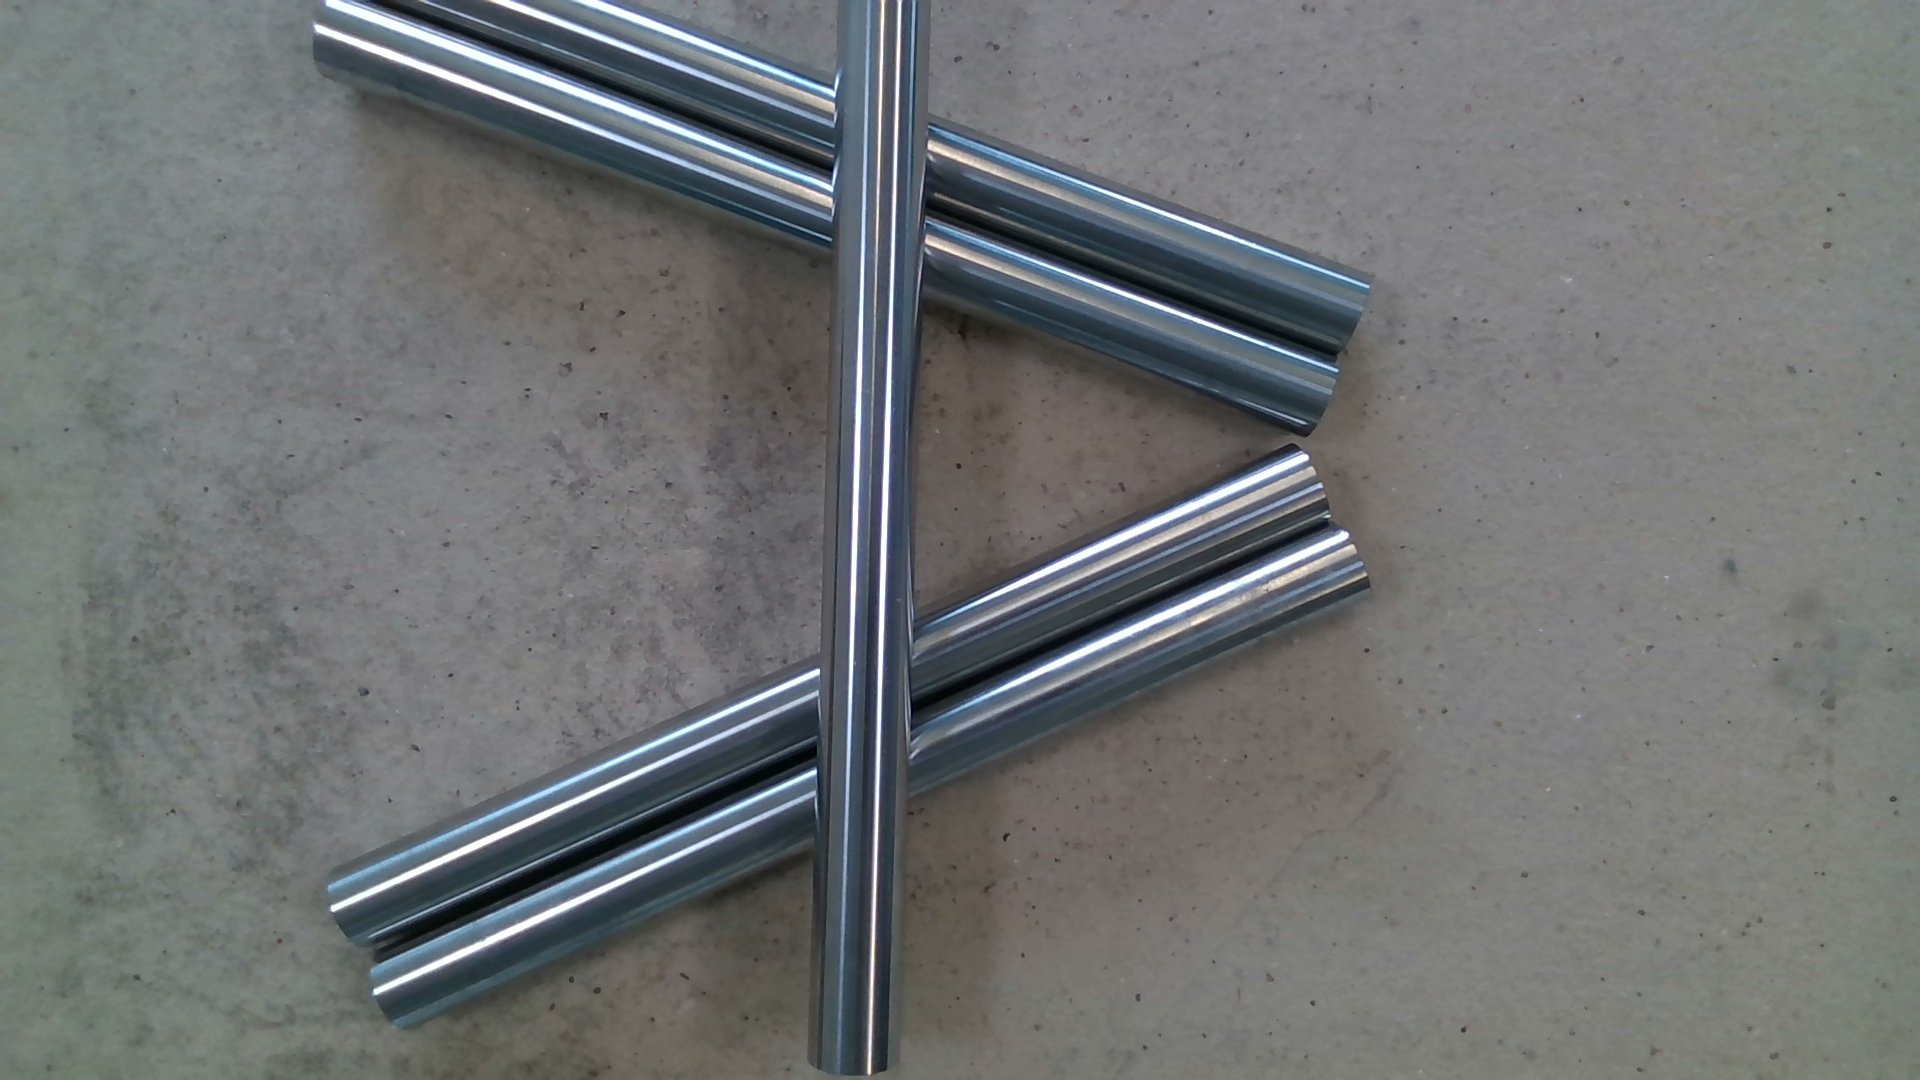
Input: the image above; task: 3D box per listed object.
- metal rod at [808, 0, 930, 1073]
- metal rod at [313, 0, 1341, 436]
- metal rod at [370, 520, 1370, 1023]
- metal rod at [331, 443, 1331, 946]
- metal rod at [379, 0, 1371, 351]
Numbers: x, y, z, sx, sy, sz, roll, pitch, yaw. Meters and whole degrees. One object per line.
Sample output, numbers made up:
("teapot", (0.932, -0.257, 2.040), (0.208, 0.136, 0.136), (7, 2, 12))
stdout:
("metal rod", (-0.024, -0.011, 0.370), (0.025, 0.025, 0.300), (2, 90, 0))
("metal rod", (-0.037, -0.093, 0.395), (0.300, 0.025, 0.025), (20, 90, 0))
("metal rod", (-0.026, 0.066, 0.396), (0.300, 0.025, 0.025), (-24, 90, 0))
("metal rod", (-0.036, 0.044, 0.396), (0.300, 0.025, 0.025), (-24, 90, 0))
("metal rod", (-0.029, -0.116, 0.395), (0.300, 0.025, 0.025), (20, 90, 0))
